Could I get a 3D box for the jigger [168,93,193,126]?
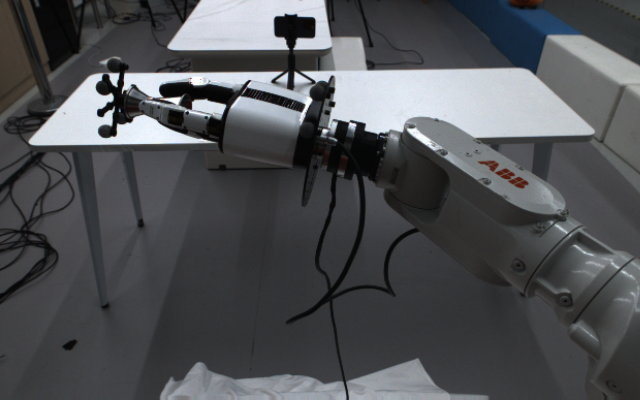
[{"bbox_3d":[-0.190,-0.114,0.590,0.071,0.043,0.043,10,35,2],"label":"jigger"}]
